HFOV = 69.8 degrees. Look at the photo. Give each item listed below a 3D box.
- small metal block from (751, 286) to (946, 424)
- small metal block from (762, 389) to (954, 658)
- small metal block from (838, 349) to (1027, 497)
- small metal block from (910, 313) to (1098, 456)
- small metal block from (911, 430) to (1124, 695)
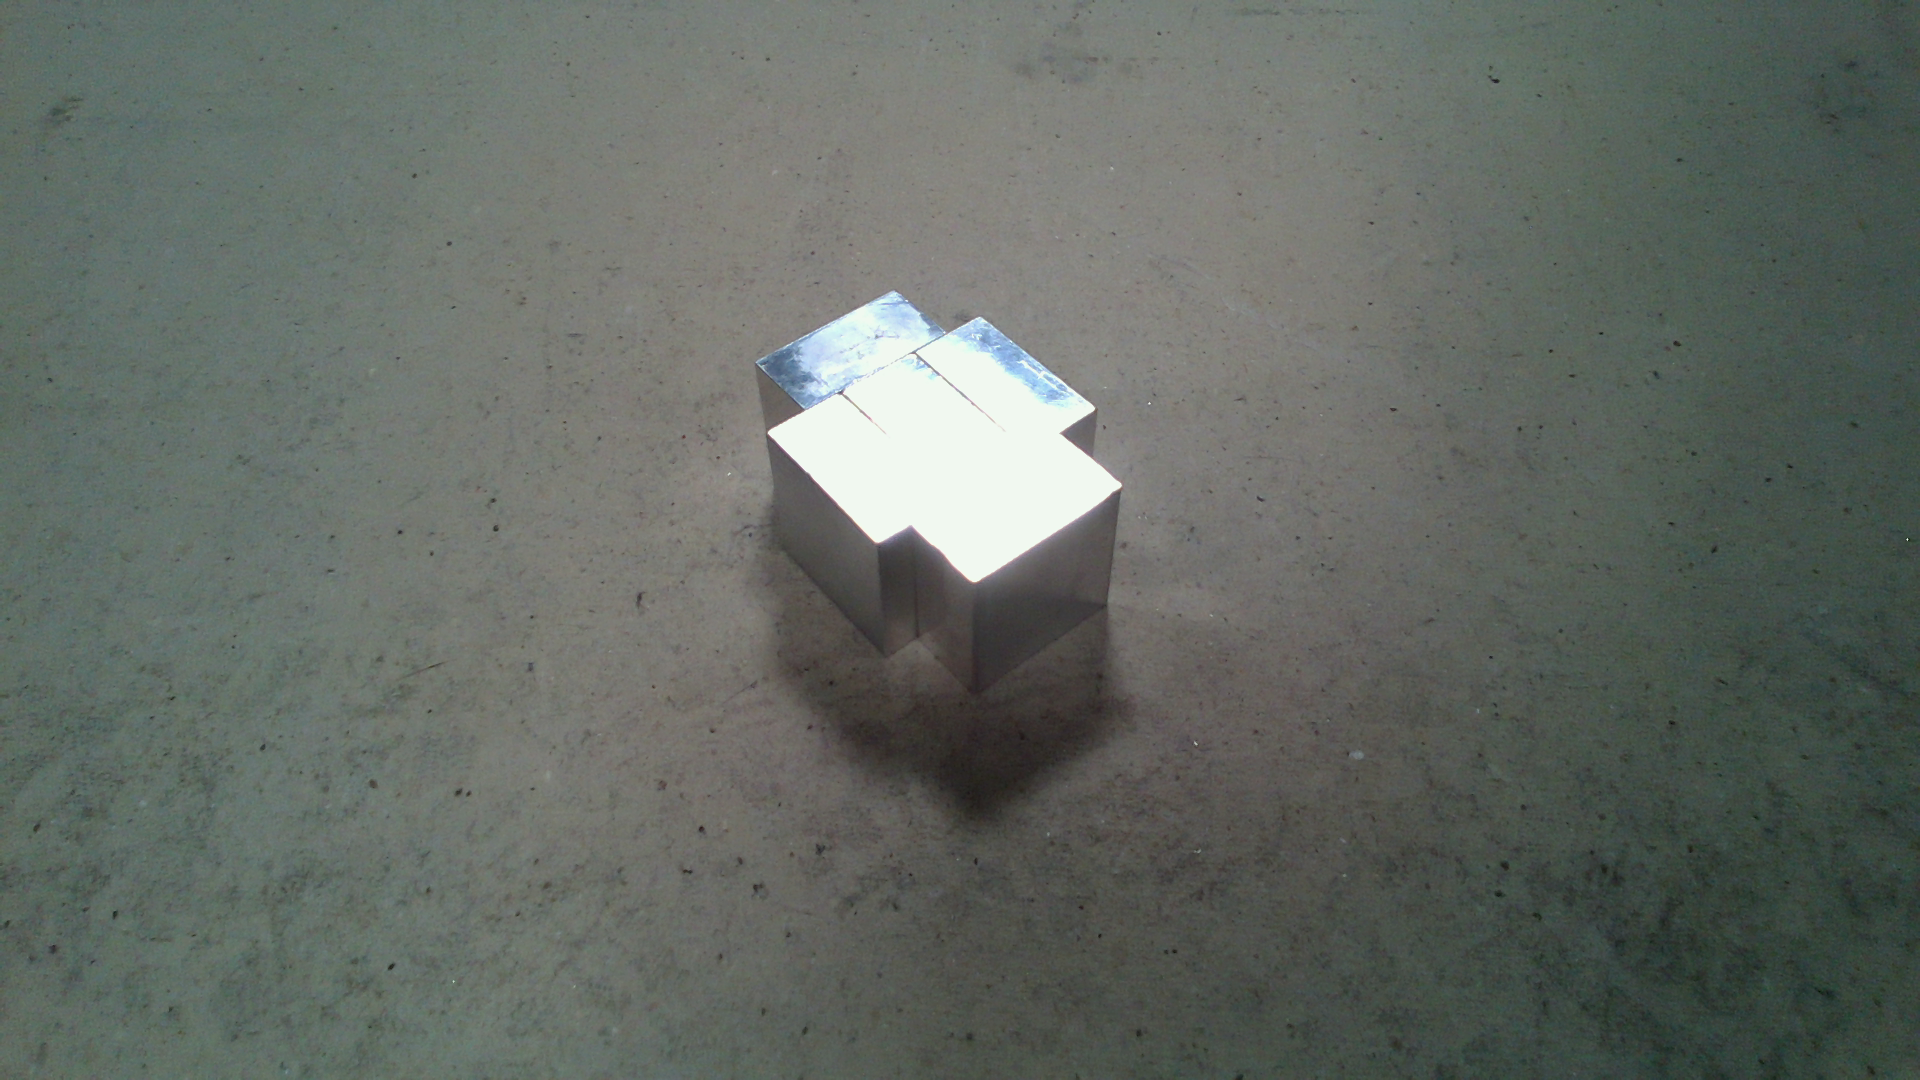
[{"bbox_3d":[-0.031,-0.039,0.408,0.050,0.050,0.025,-32,57,-24],"label":"small metal block"},{"bbox_3d":[-0.027,-0.004,0.378,0.025,0.050,0.050,-32,57,-24],"label":"small metal block"},{"bbox_3d":[-0.008,-0.017,0.389,0.025,0.050,0.050,-32,57,-24],"label":"small metal block"},{"bbox_3d":[0.012,-0.029,0.399,0.025,0.050,0.050,-33,57,-25],"label":"small metal block"},{"bbox_3d":[0.015,0.006,0.369,0.050,0.050,0.025,-32,57,-24],"label":"small metal block"}]
